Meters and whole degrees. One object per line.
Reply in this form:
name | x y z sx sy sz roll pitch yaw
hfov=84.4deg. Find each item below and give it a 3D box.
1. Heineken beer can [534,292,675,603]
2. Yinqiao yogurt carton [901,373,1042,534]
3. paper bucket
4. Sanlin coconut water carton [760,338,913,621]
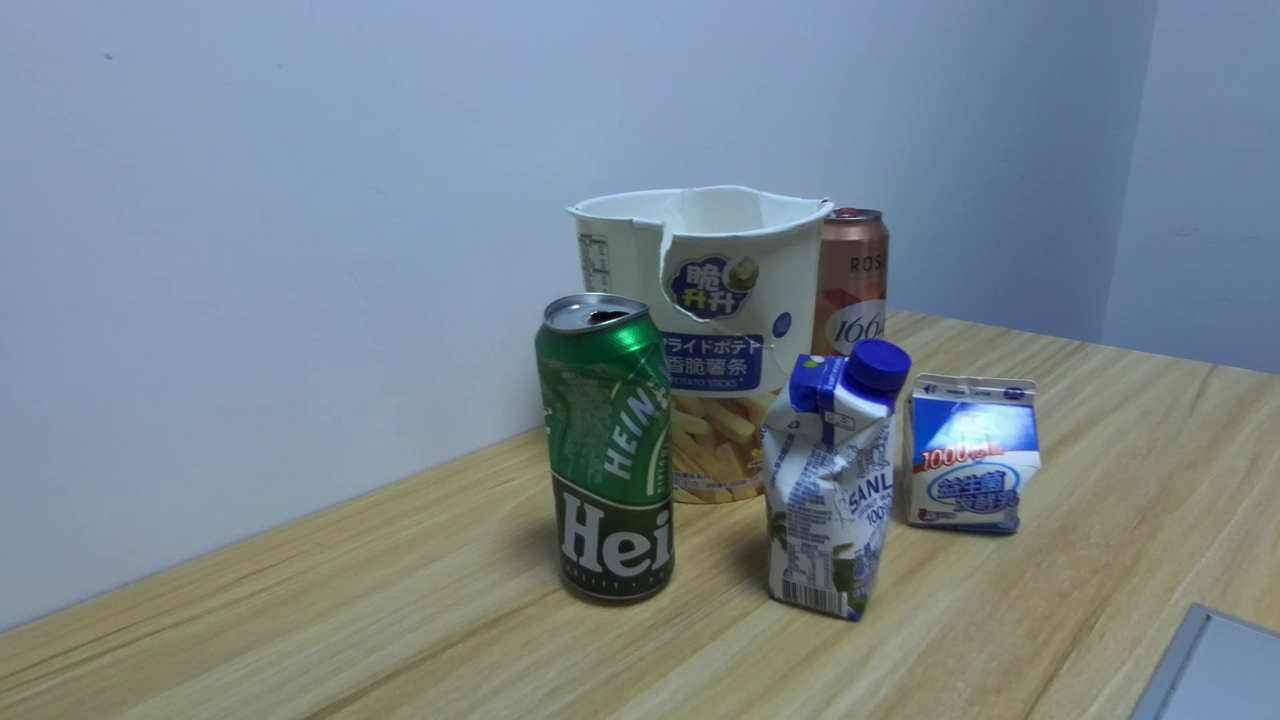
Heineken beer can | -0.018 0.048 0.385 0.066 0.164 0.077 -7 23 -5
Yinqiao yogurt carton | 0.203 0.053 0.438 0.074 0.097 0.080 2 24 9
paper bucket | 0.043 -0.017 0.504 0.146 0.197 0.201 -16 23 -29
Sanlin coconut water carton | 0.097 0.058 0.363 0.069 0.144 0.061 9 25 26
